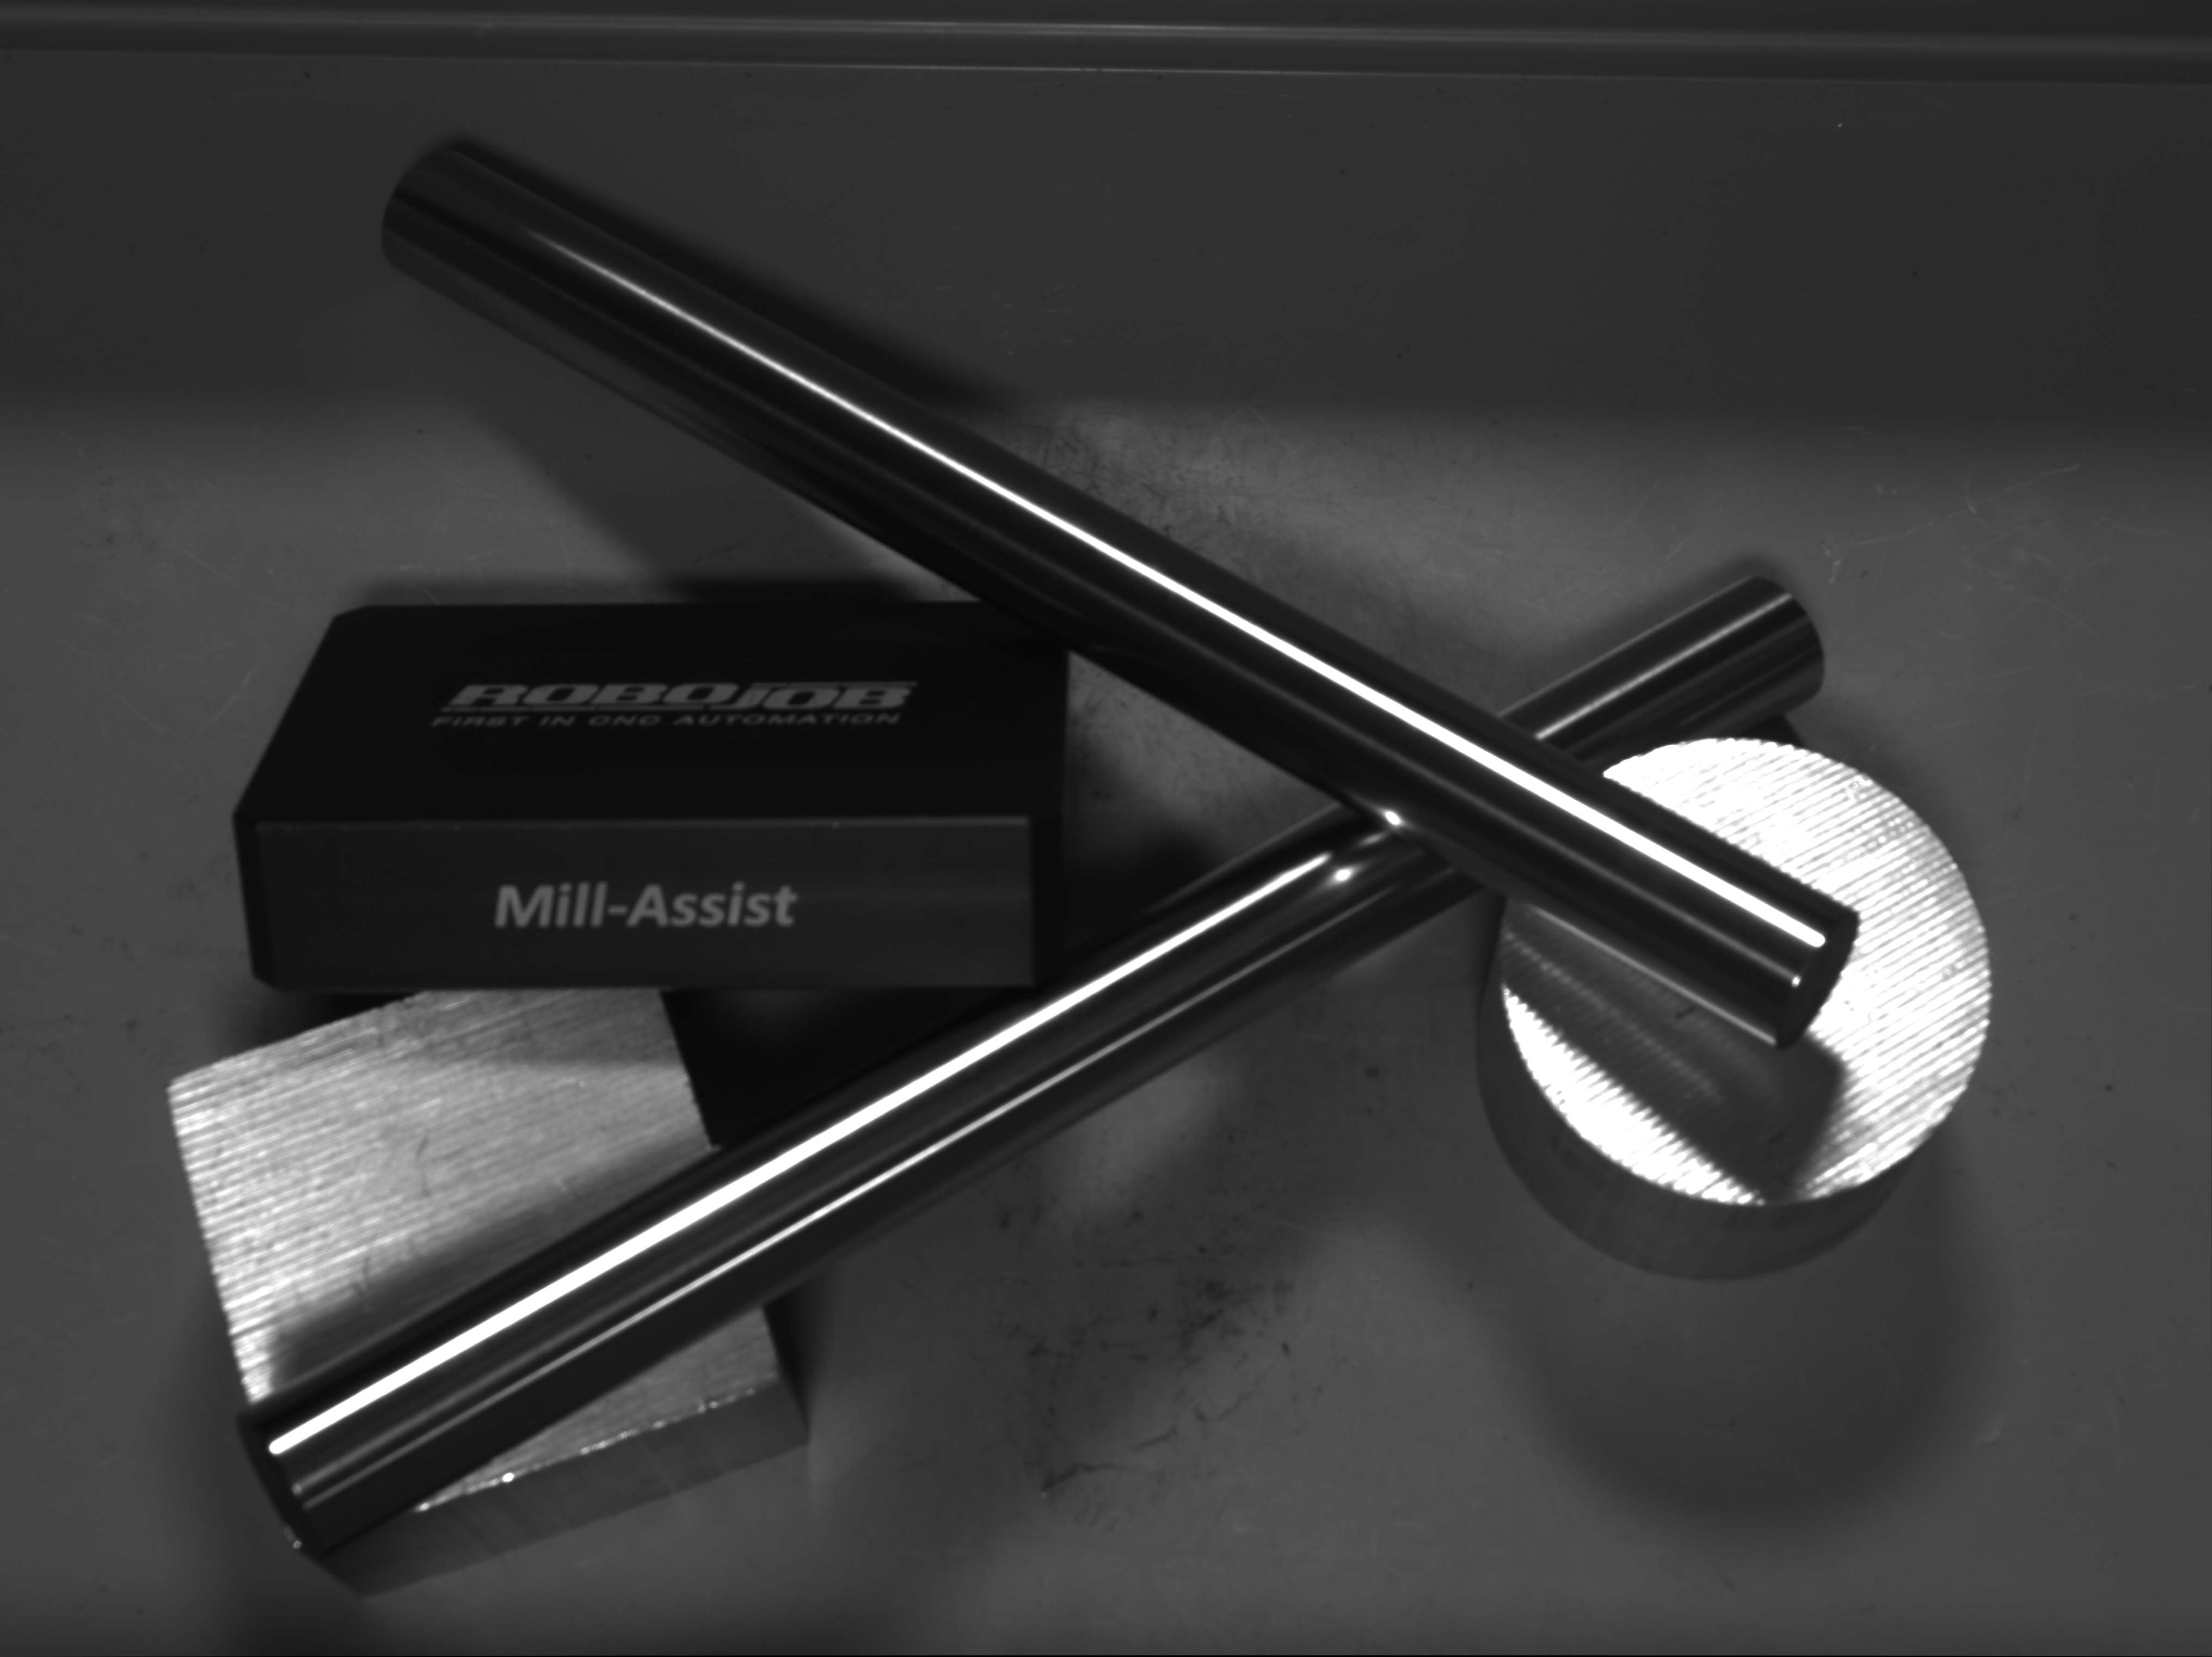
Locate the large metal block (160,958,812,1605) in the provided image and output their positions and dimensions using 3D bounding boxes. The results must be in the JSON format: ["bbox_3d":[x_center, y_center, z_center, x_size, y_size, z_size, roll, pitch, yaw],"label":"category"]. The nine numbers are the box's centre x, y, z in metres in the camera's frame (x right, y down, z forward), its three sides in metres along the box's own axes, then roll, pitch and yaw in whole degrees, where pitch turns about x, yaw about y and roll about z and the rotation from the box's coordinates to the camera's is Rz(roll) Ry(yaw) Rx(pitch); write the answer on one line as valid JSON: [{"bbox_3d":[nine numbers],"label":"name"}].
[{"bbox_3d":[-0.100,0.072,0.600,0.080,0.050,0.080,-18,71,-7],"label":"large metal block"}]

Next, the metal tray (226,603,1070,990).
[{"bbox_3d":[-0.072,-0.007,0.614,0.130,0.030,0.090,0,26,1],"label":"metal tray"}]

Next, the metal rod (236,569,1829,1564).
[{"bbox_3d":[0.000,0.030,0.593,0.300,0.025,0.025,-29,72,-24],"label":"metal rod"}]

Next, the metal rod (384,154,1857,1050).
[{"bbox_3d":[-0.008,-0.046,0.629,0.299,0.025,0.025,30,72,23],"label":"metal rod"}]

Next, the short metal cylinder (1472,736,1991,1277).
[{"bbox_3d":[0.104,0.031,0.618,0.080,0.050,0.080,0,70,0],"label":"short metal cylinder"}]
